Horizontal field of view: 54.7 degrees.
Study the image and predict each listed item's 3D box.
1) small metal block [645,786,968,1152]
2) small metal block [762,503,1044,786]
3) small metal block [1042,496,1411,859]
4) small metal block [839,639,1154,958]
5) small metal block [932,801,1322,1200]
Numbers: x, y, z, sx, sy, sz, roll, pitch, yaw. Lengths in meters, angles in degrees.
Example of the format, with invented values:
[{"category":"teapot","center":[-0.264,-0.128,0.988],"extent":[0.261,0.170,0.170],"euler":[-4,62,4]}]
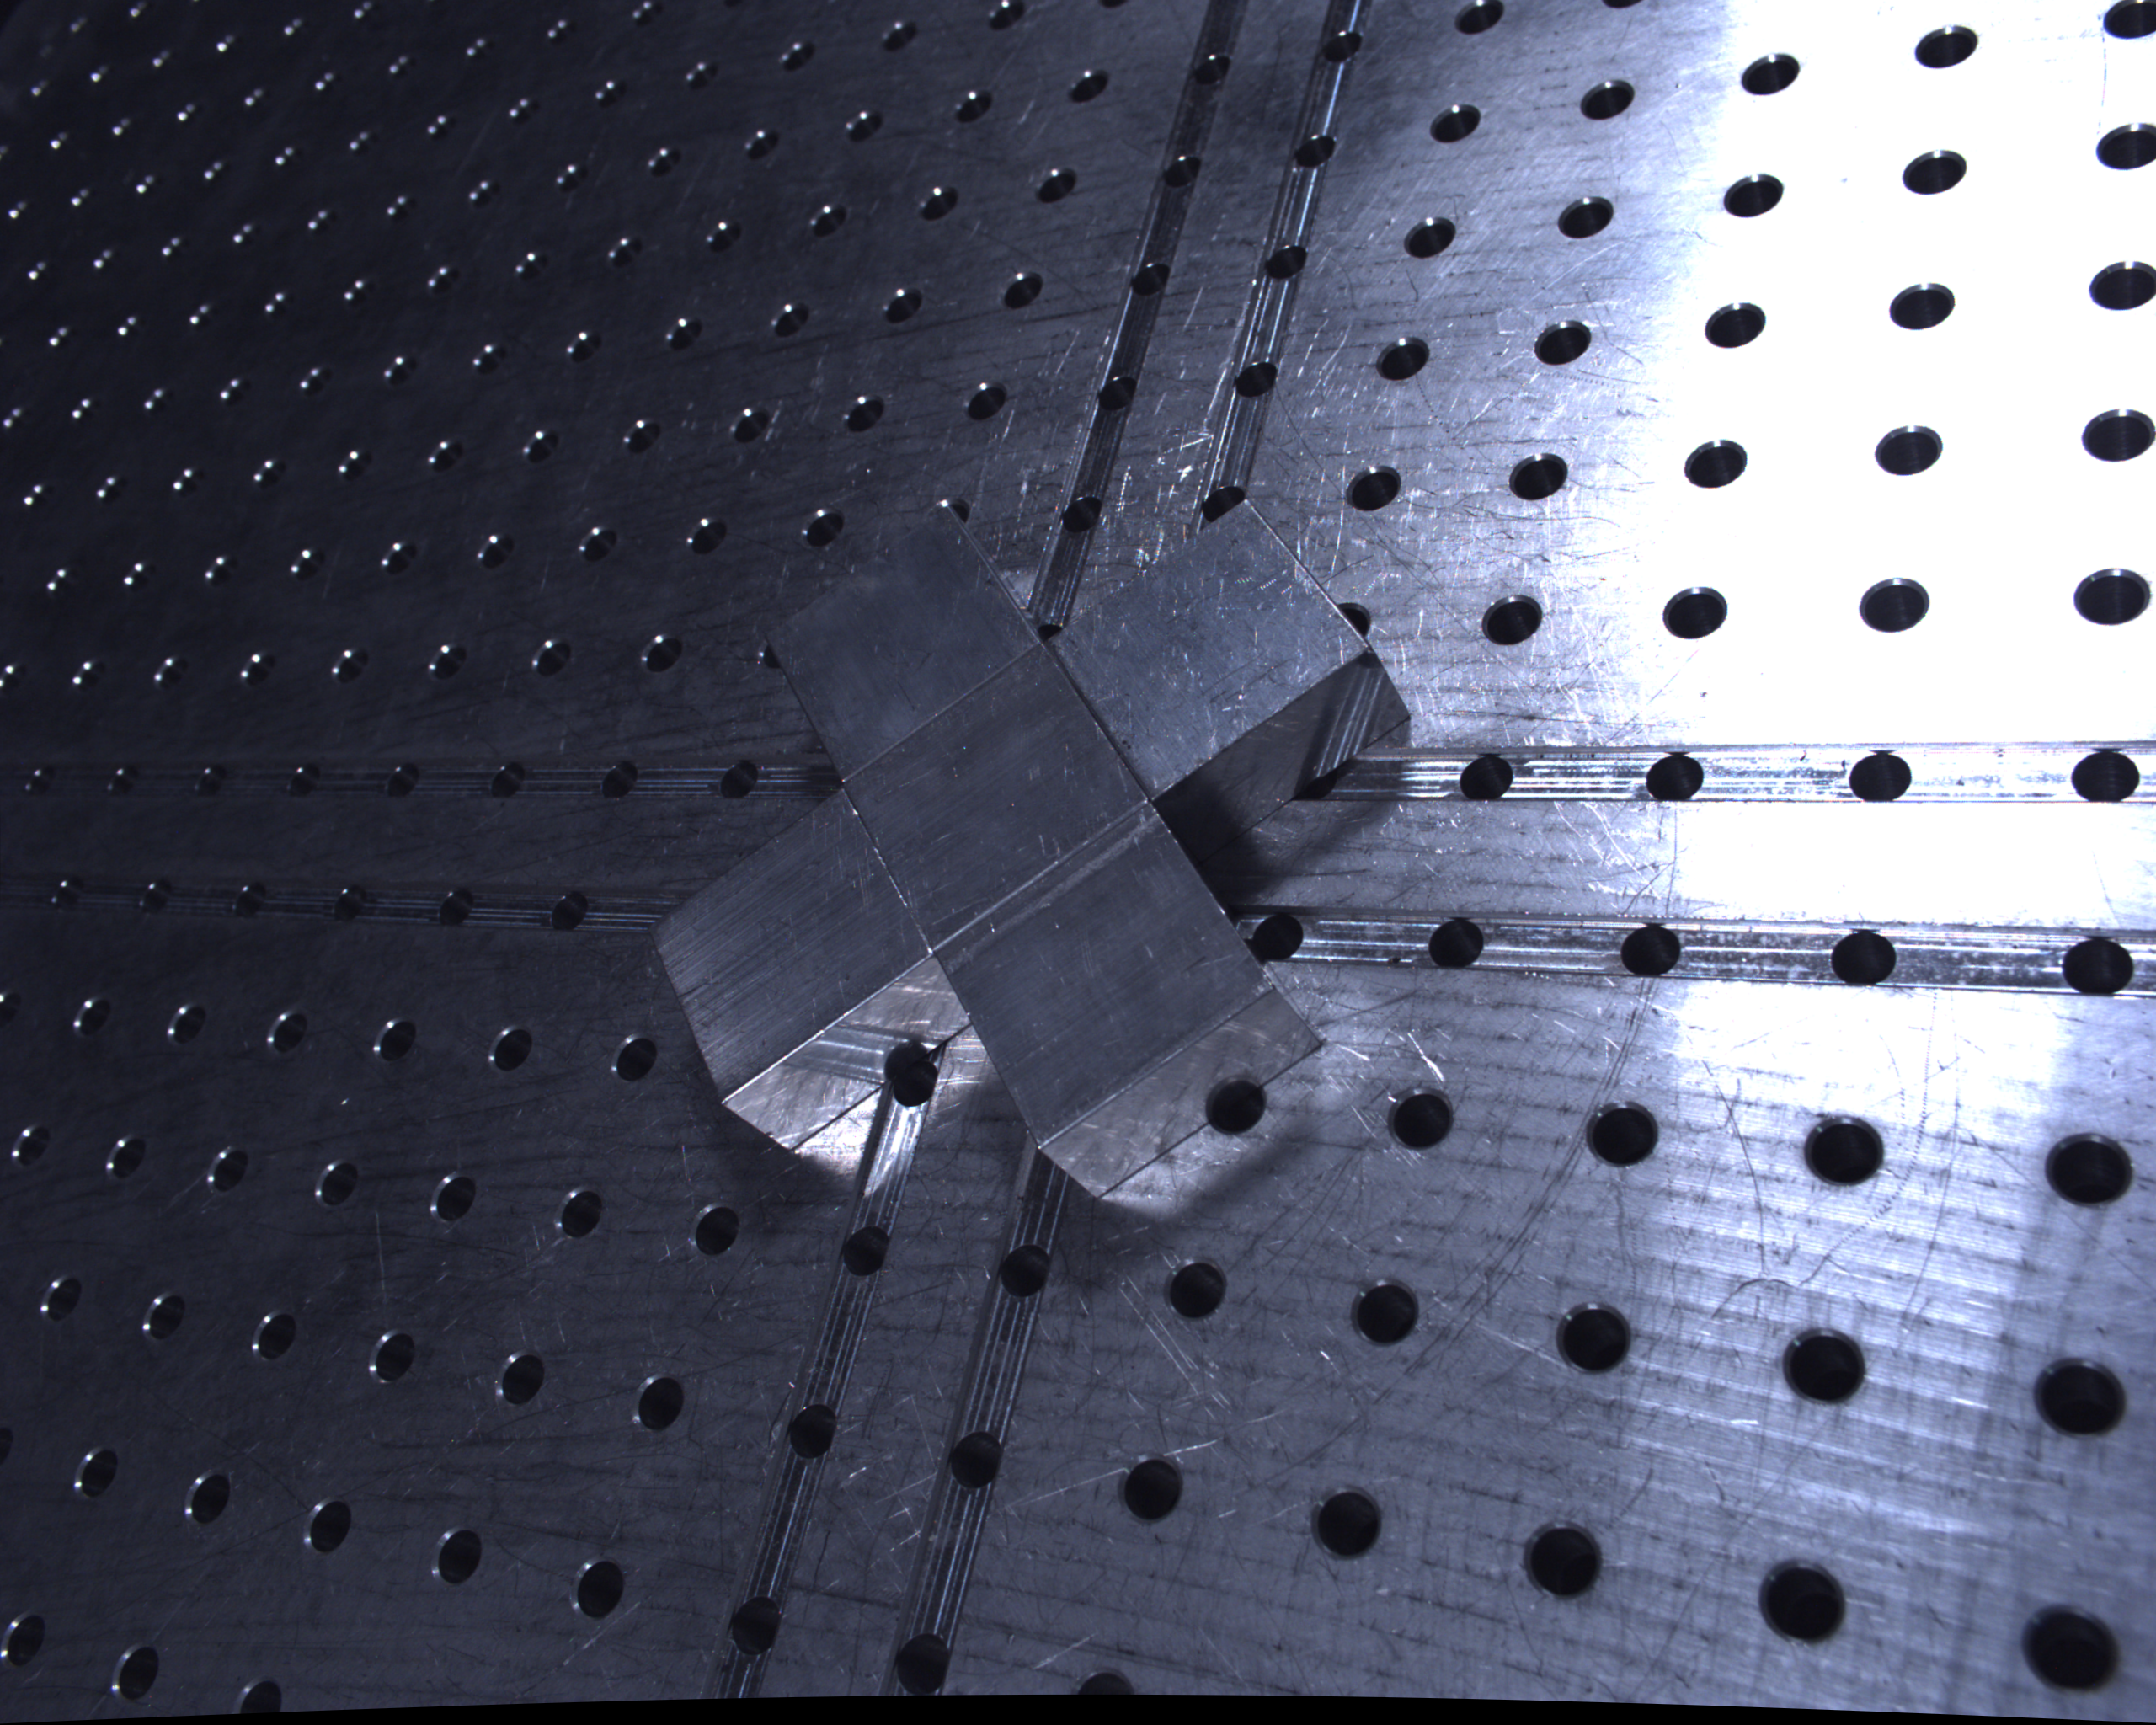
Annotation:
[{"category":"small metal block","center":[-0.053,0.021,0.421],"extent":[0.050,0.025,0.050],"euler":[-35,51,4]},{"category":"small metal block","center":[-0.033,-0.041,0.449],"extent":[0.050,0.025,0.050],"euler":[-35,51,4]},{"category":"small metal block","center":[0.029,-0.037,0.414],"extent":[0.050,0.025,0.050],"euler":[-35,51,4]},{"category":"small metal block","center":[-0.013,-0.008,0.417],"extent":[0.050,0.025,0.050],"euler":[-35,51,4]},{"category":"small metal block","center":[0.008,0.025,0.387],"extent":[0.050,0.025,0.050],"euler":[-35,51,4]}]
